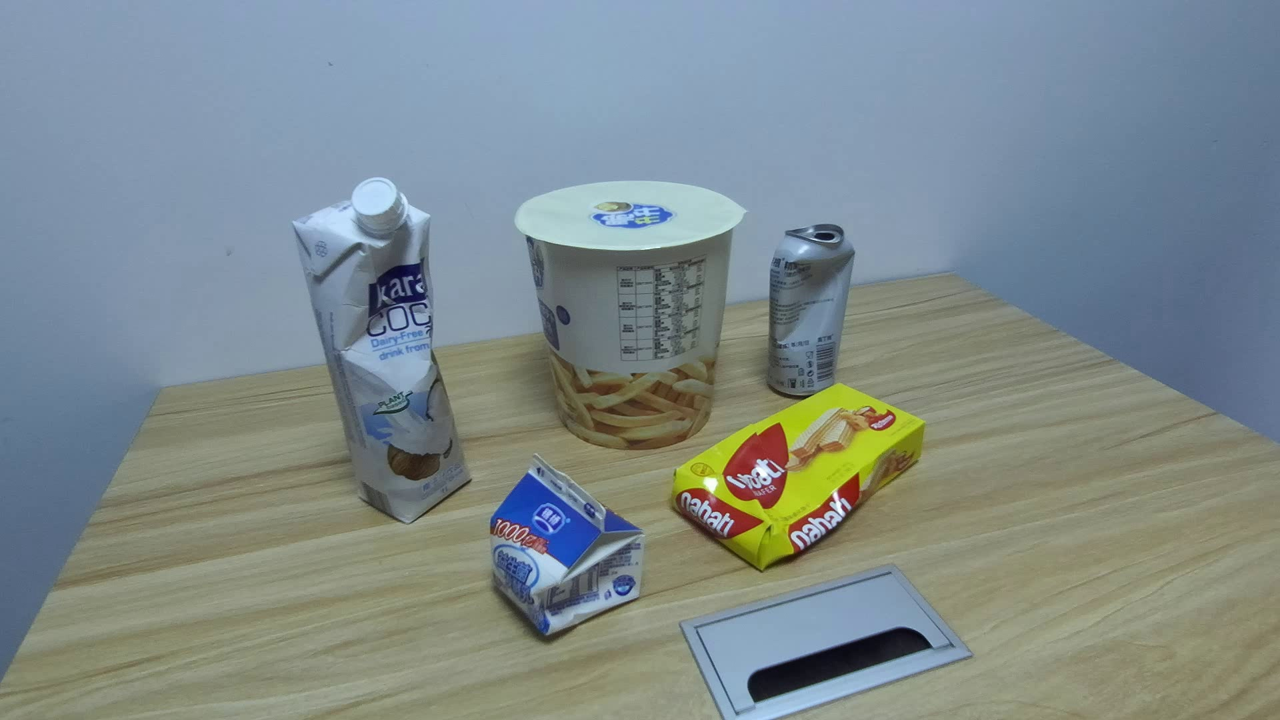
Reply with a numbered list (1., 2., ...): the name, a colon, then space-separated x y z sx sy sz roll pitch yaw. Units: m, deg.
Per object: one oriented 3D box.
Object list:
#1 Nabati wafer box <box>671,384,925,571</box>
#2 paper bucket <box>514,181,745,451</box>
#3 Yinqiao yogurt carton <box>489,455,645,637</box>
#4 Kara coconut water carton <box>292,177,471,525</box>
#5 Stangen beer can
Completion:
1. Nabati wafer box: 0.132 0.086 0.563 0.205 0.042 0.106 -22 33 -32
2. paper bucket: -0.007 -0.041 0.637 0.198 0.195 0.198 -1 30 1
3. Yinqiao yogurt carton: -0.050 0.117 0.456 0.080 0.097 0.074 -17 32 -41
4. Kara coconut water carton: -0.186 -0.006 0.517 0.083 0.256 0.078 -24 37 -37
5. Stangen beer can: 0.160 -0.046 0.673 0.065 0.162 0.077 11 30 20
